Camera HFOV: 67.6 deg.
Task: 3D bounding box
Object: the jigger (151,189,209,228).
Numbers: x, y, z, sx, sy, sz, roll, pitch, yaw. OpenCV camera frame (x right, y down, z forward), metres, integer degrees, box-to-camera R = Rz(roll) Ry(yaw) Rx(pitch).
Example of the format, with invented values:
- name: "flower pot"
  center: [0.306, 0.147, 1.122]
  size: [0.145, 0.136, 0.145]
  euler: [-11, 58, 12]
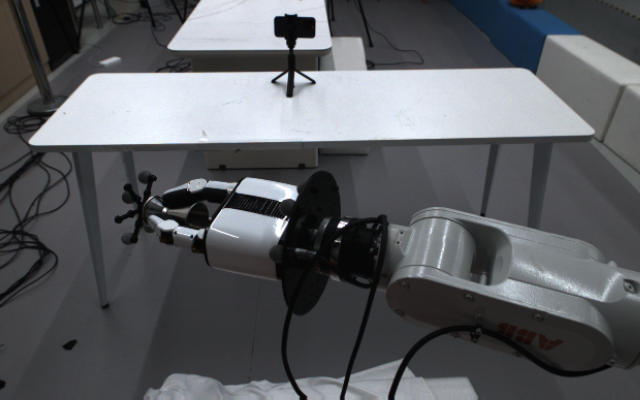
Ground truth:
- name: "jigger"
  center: [-0.172, 0.018, 0.594]
  size: [0.071, 0.043, 0.043]
  euler: [10, 35, 22]
